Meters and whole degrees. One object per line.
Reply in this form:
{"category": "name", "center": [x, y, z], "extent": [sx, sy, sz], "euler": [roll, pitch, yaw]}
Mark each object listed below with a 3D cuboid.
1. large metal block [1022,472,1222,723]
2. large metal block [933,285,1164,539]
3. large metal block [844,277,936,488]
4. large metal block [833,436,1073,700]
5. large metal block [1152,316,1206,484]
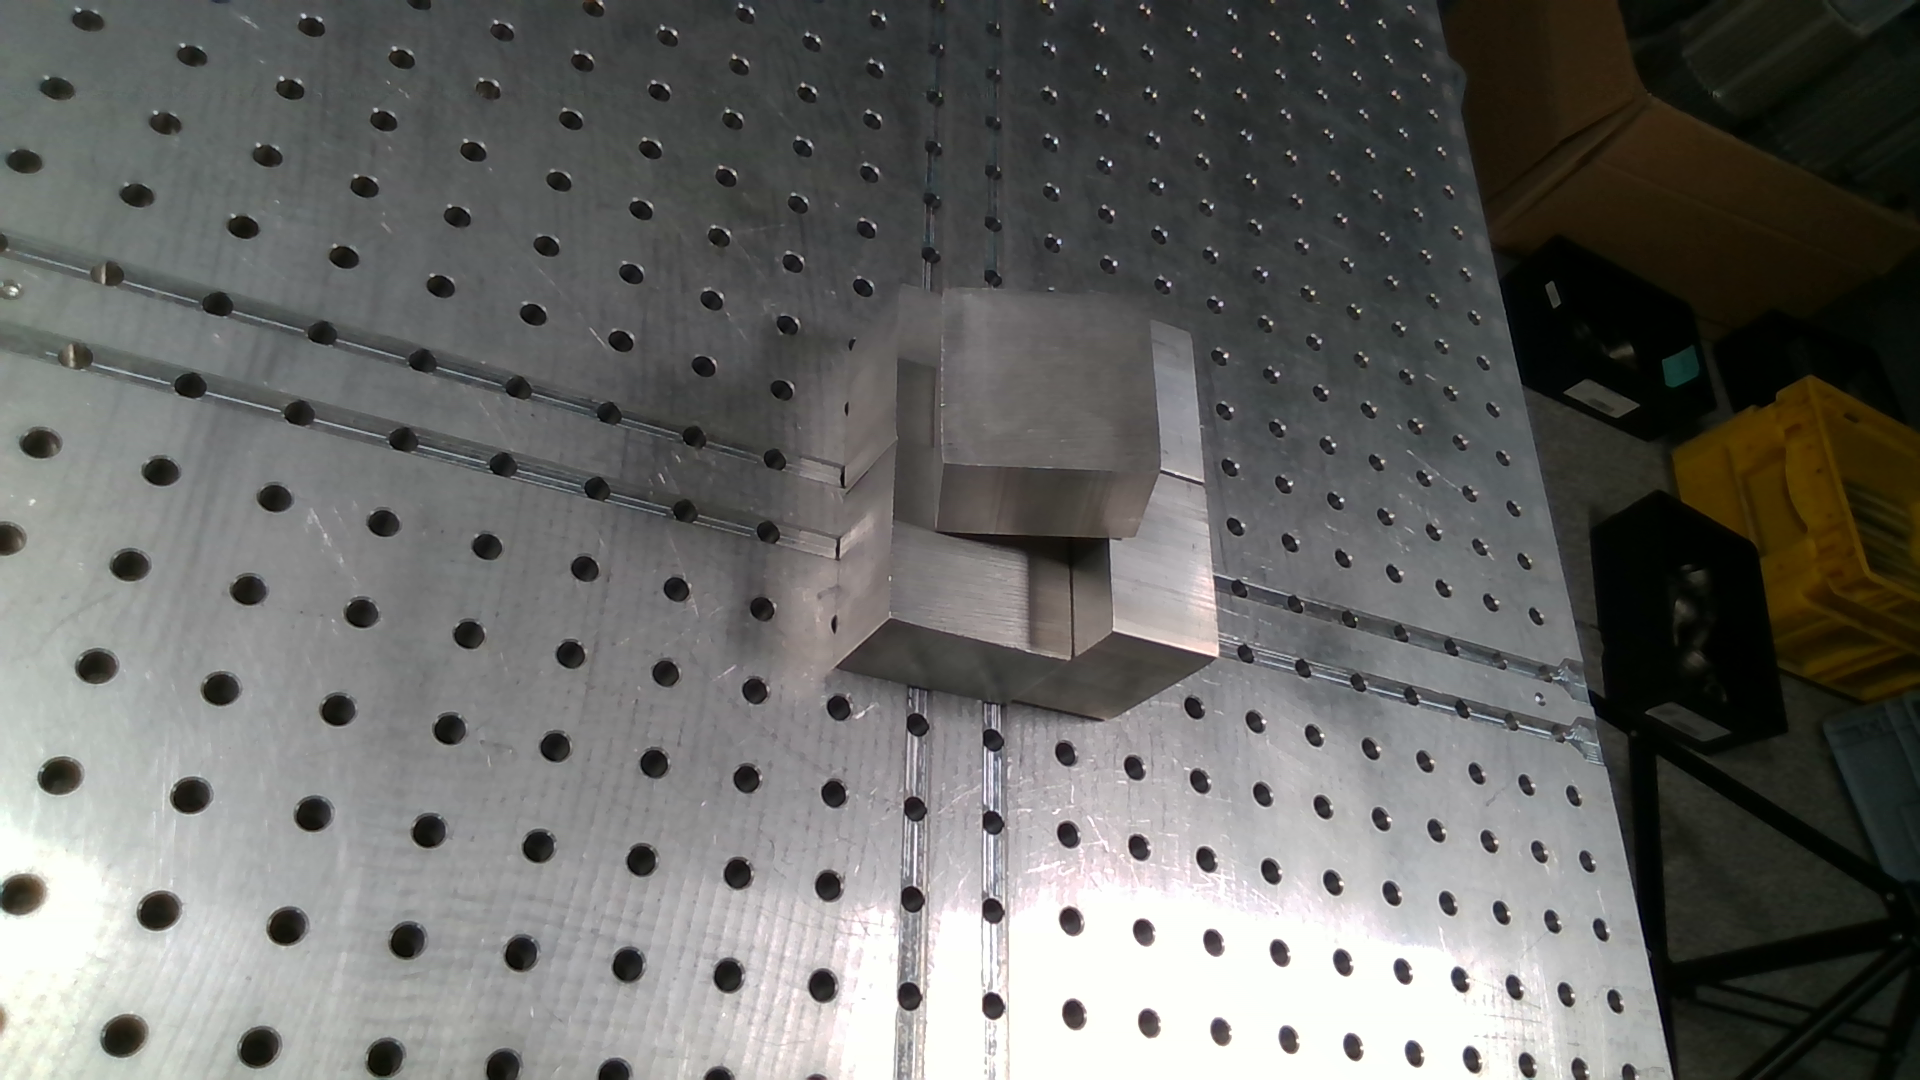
{"category": "large metal block", "center": [0.062, 0.022, 0.578], "extent": [0.050, 0.080, 0.080], "euler": [15, 58, -24]}
{"category": "large metal block", "center": [0.031, -0.049, 0.532], "extent": [0.080, 0.050, 0.080], "euler": [2, 62, -4]}
{"category": "large metal block", "center": [-0.002, -0.057, 0.600], "extent": [0.080, 0.050, 0.080], "euler": [15, 58, -24]}
{"category": "large metal block", "center": [-0.003, 0.014, 0.561], "extent": [0.080, 0.050, 0.080], "euler": [15, 58, -24]}
{"category": "large metal block", "center": [0.063, -0.048, 0.617], "extent": [0.050, 0.080, 0.080], "euler": [15, 58, -24]}
